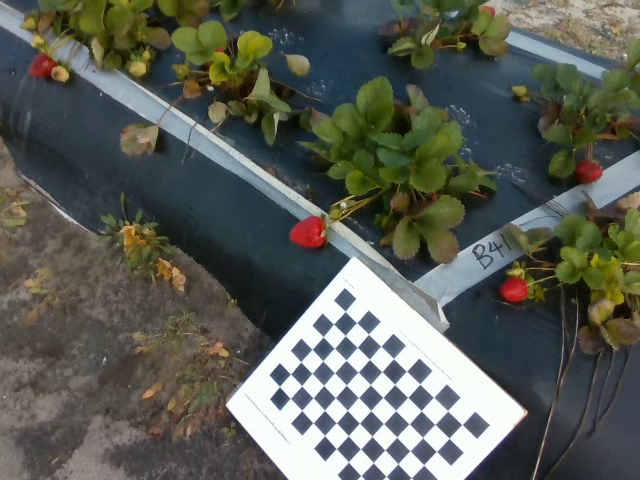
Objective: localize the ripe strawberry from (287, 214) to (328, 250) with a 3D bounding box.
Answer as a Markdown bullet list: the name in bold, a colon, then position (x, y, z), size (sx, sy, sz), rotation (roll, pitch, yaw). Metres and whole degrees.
- **ripe strawberry**: position (-0.017, -0.011, 0.853), size (0.052, 0.048, 0.030), rotation (-6, -14, -6)

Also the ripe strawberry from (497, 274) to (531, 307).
- **ripe strawberry**: position (0.231, 0.062, 0.789), size (0.047, 0.038, 0.031), rotation (-14, -29, -39)
